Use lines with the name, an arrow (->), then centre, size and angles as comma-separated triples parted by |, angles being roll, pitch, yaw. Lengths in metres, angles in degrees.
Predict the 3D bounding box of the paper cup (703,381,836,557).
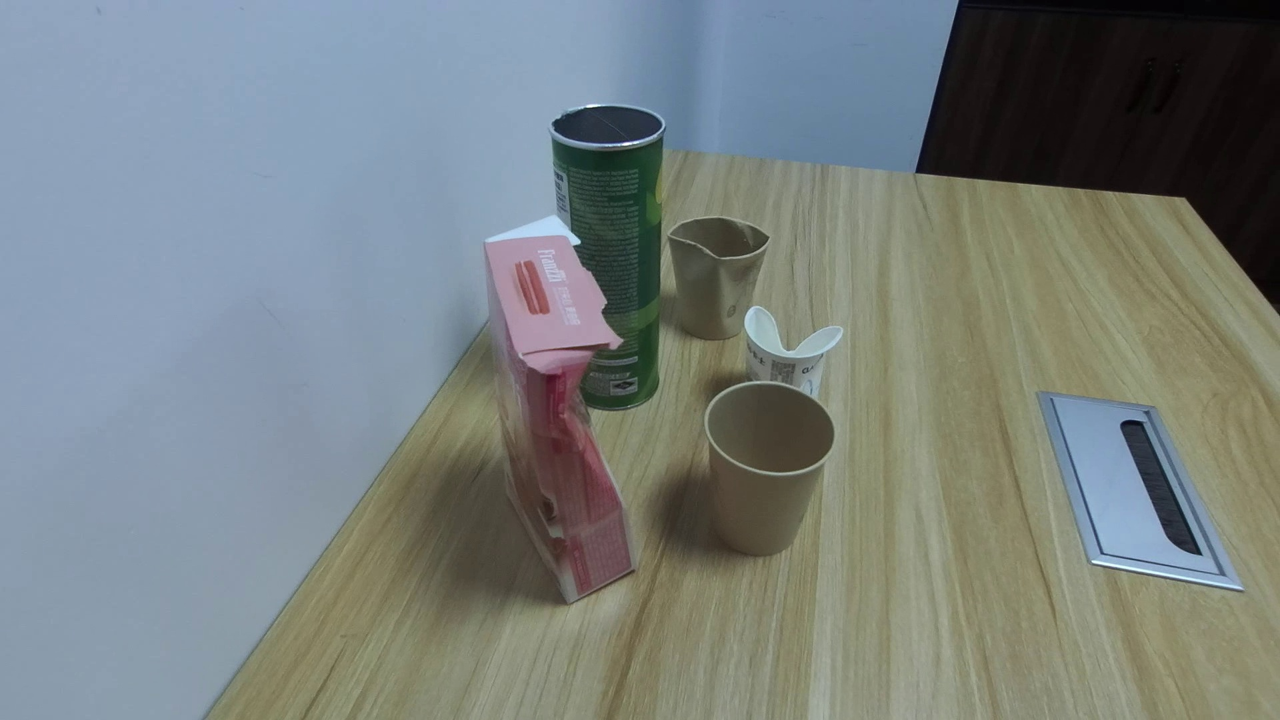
paper cup -> 0.072, 0.068, 0.416 | 0.075, 0.082, 0.075 | 0, 38, 0

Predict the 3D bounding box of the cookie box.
cookie box -> -0.042, 0.035, 0.376 | 0.055, 0.184, 0.118 | -15, 41, -17

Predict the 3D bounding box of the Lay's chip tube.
Lay's chip tube -> -0.019, -0.062, 0.480 | 0.071, 0.203, 0.071 | 0, 38, 0

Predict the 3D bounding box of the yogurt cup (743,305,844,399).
yogurt cup -> 0.103, 0.004, 0.502 | 0.067, 0.070, 0.067 | 2, 40, -1

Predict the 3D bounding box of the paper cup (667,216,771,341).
paper cup -> 0.063, -0.066, 0.580 | 0.066, 0.084, 0.071 | -29, 45, -34
